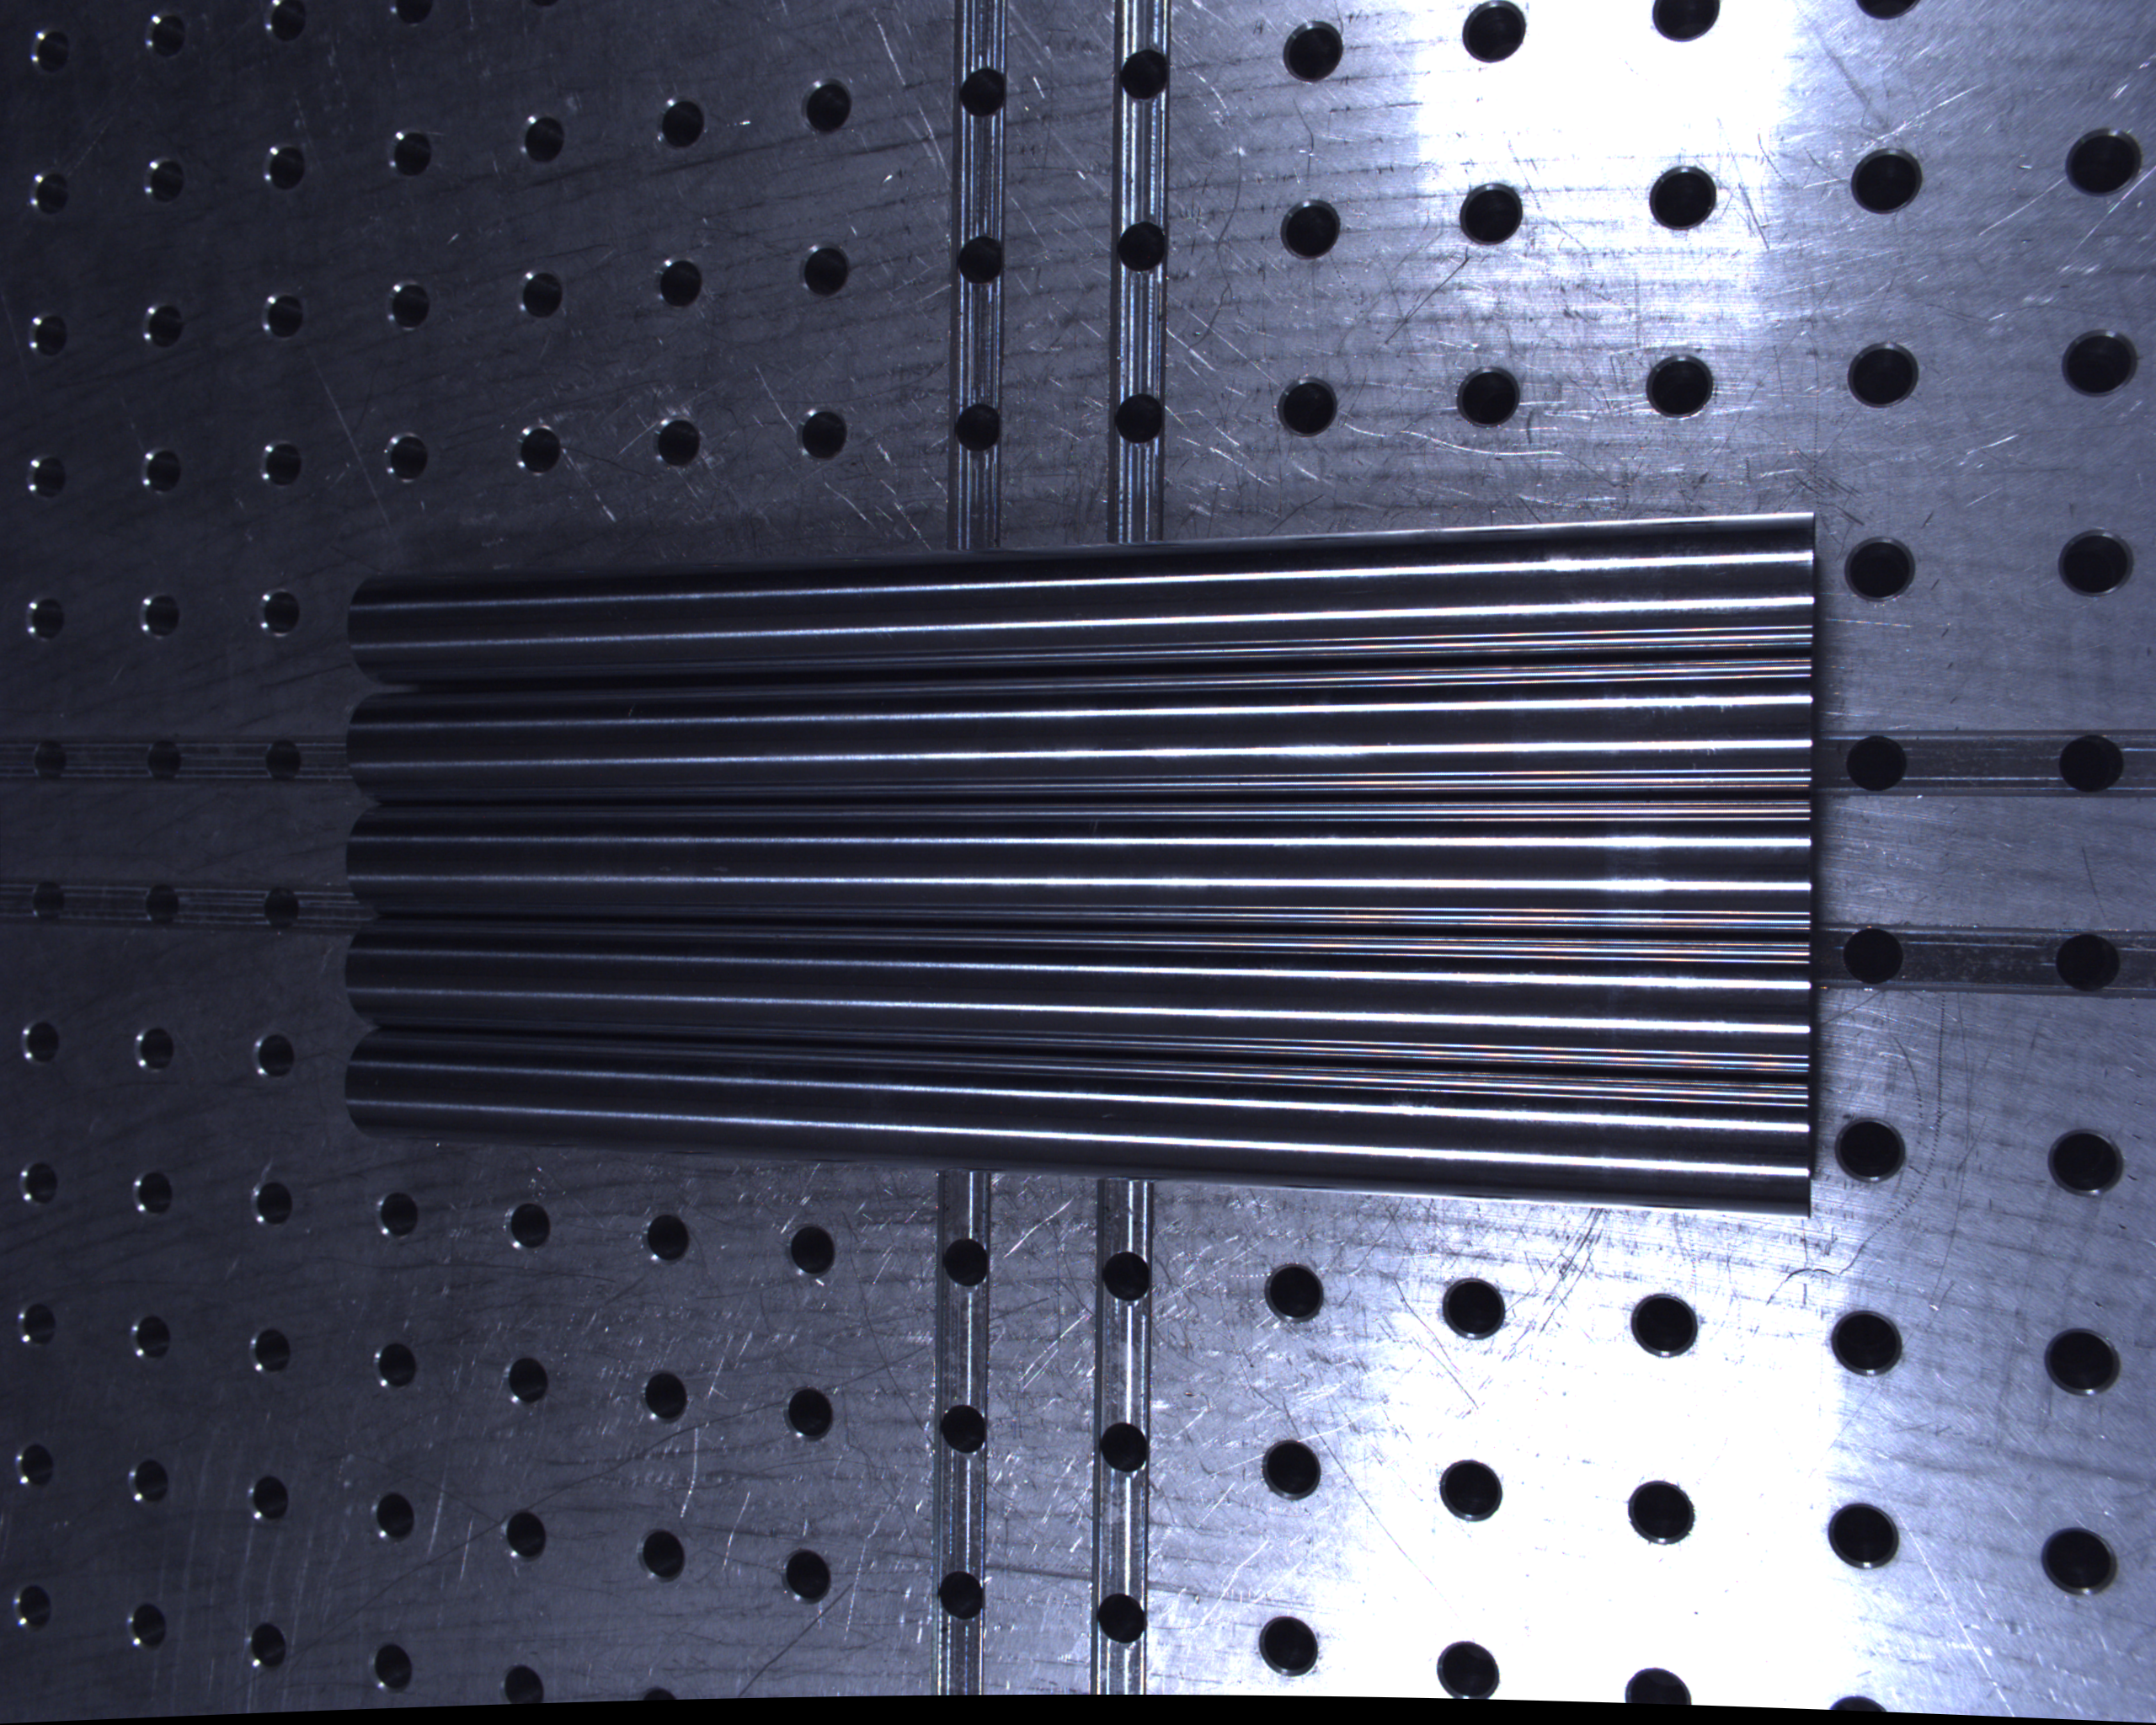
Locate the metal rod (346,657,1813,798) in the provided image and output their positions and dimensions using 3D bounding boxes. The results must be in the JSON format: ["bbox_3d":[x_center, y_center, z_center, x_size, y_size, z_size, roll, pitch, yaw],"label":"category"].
[{"bbox_3d":[-0.013,-0.025,0.416,0.301,0.025,0.025,1,90,19],"label":"metal rod"}]

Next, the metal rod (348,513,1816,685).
[{"bbox_3d":[-0.012,-0.050,0.416,0.301,0.025,0.025,1,90,19],"label":"metal rod"}]

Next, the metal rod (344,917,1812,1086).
[{"bbox_3d":[-0.013,0.026,0.416,0.301,0.025,0.025,1,90,19],"label":"metal rod"}]

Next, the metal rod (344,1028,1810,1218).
[{"bbox_3d":[-0.013,0.050,0.416,0.301,0.025,0.025,0,90,19],"label":"metal rod"}]

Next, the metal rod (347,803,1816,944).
[{"bbox_3d":[-0.013,0.001,0.416,0.301,0.025,0.025,1,90,19],"label":"metal rod"}]
